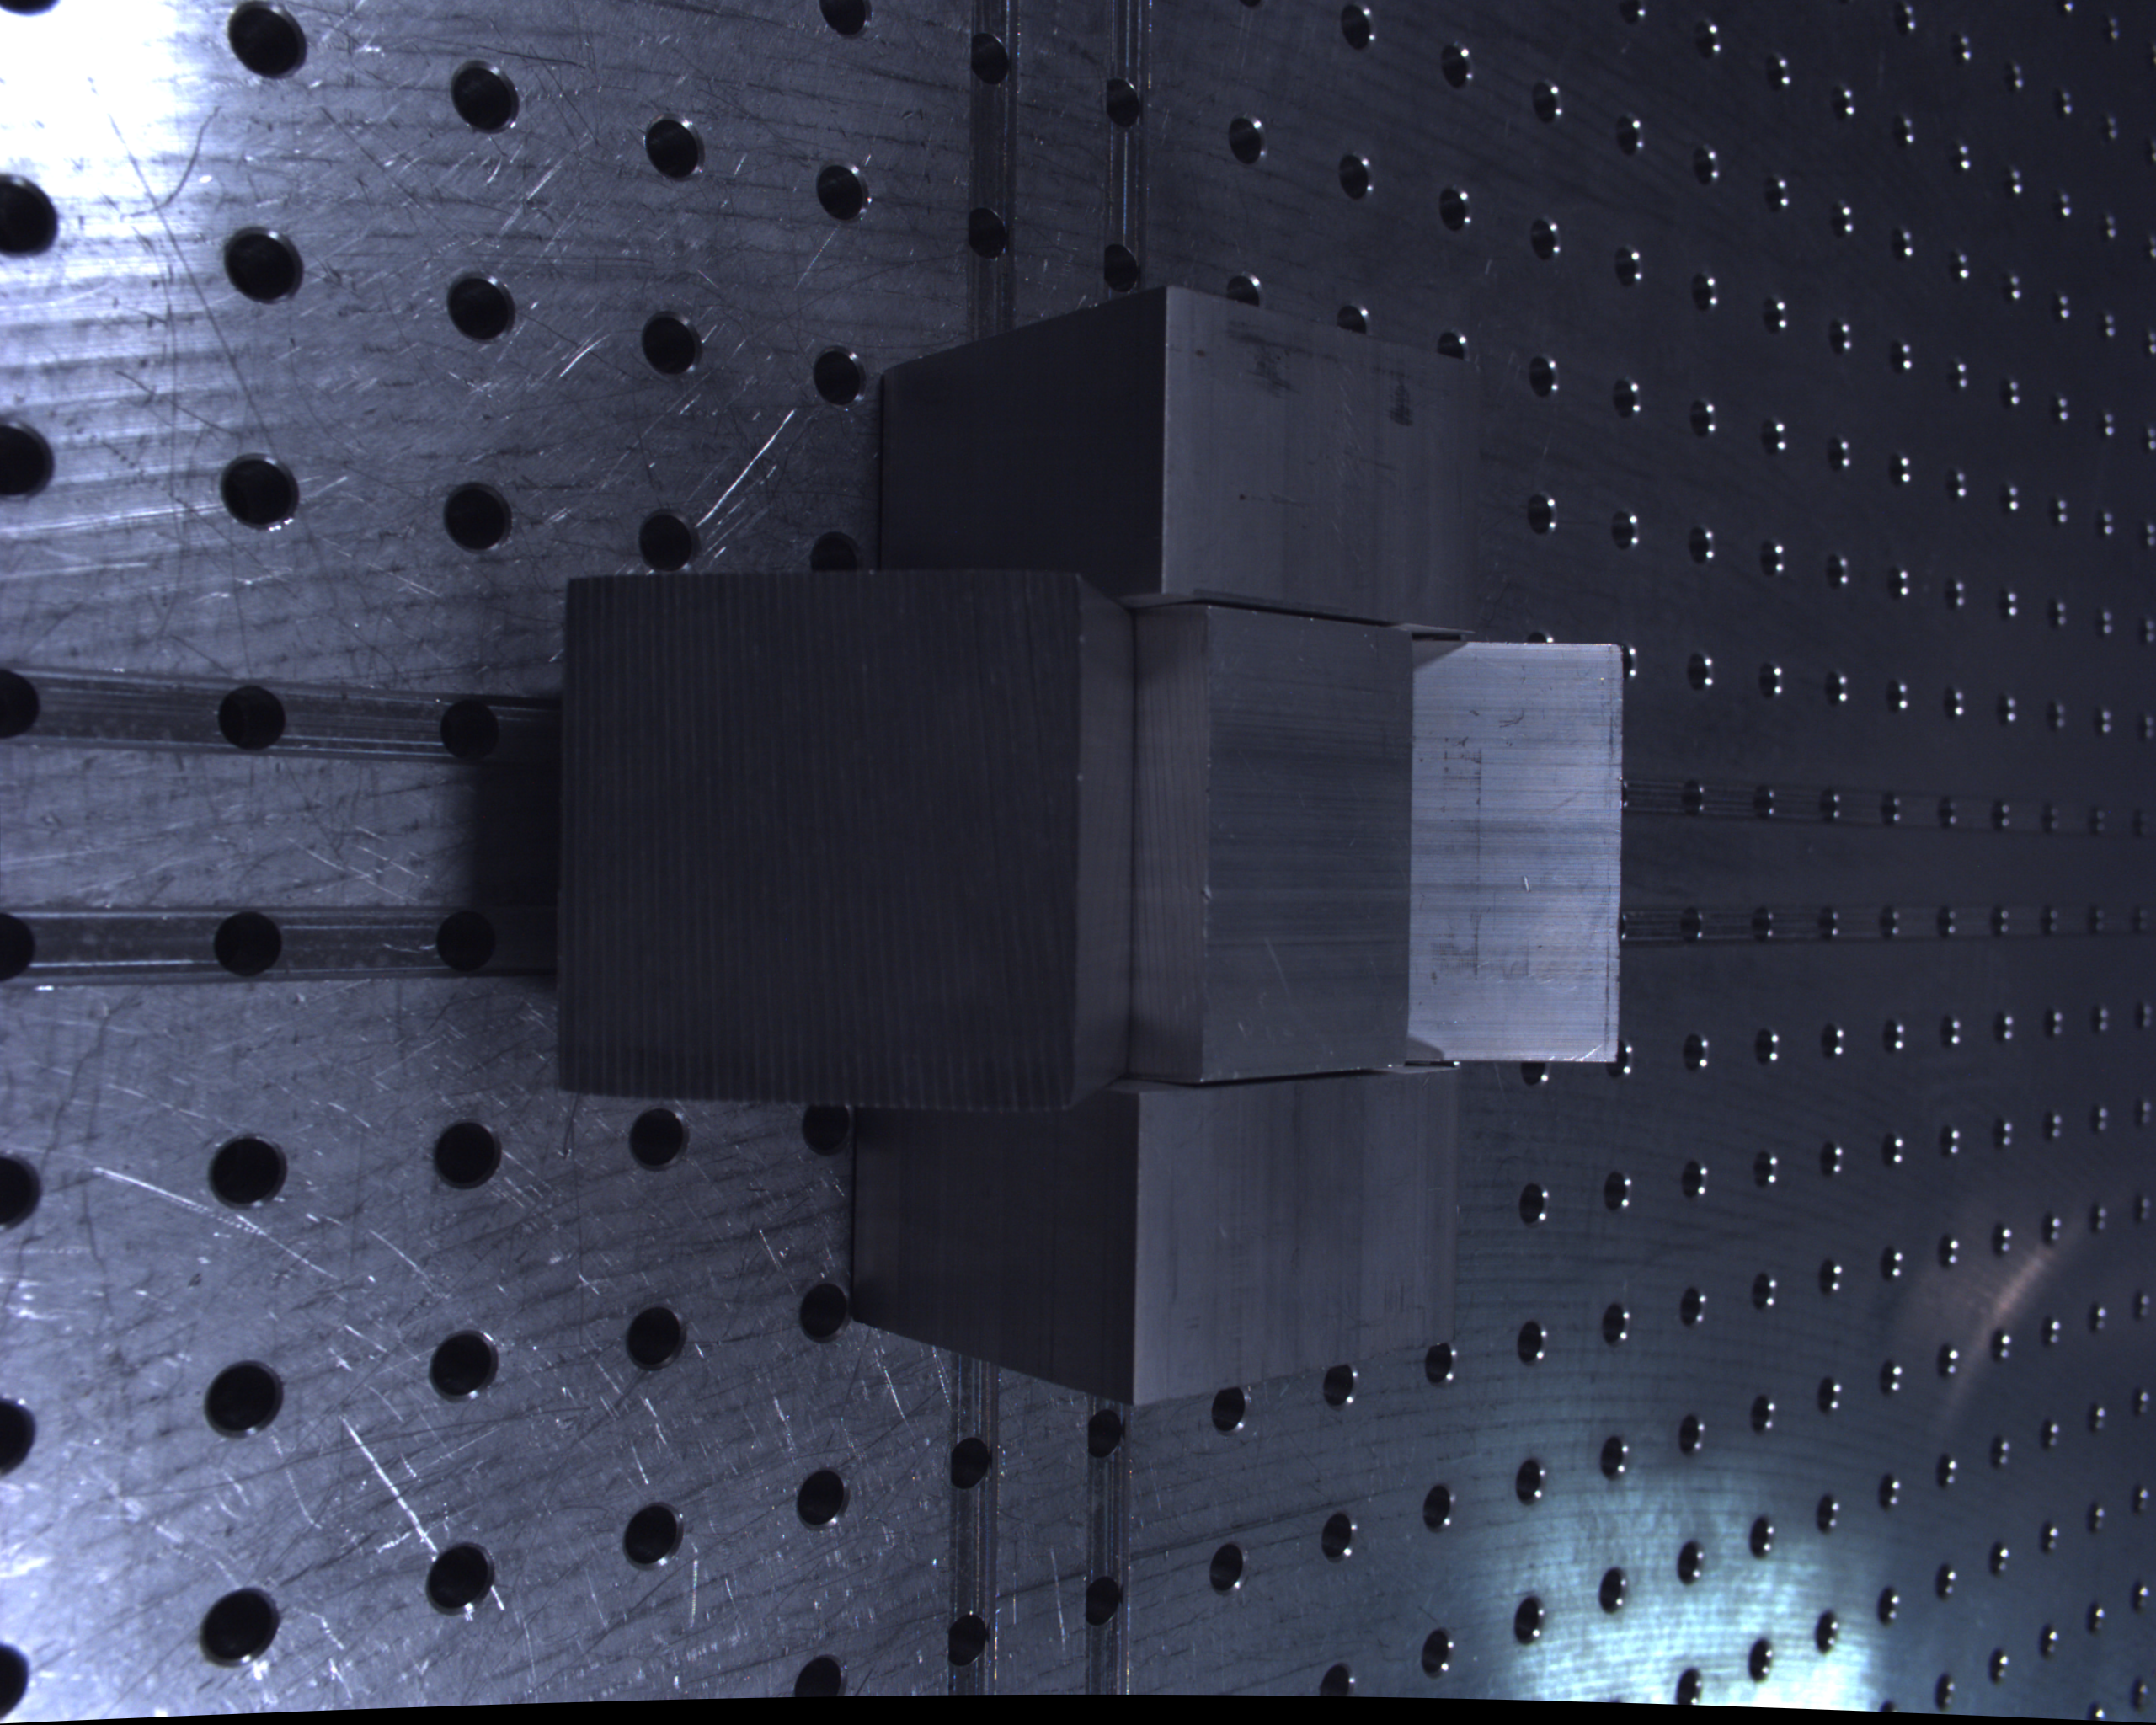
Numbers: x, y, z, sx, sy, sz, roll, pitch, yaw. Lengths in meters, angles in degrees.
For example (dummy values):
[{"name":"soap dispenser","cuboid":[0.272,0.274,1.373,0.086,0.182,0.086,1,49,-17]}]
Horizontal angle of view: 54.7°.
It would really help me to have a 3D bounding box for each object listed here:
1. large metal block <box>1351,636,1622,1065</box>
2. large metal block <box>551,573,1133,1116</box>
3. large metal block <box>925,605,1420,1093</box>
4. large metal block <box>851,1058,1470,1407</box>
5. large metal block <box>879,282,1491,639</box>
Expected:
[{"name":"large metal block","cuboid":[0.074,-0.002,0.427,0.050,0.080,0.079,1,89,-3]},{"name":"large metal block","cuboid":[-0.036,-0.004,0.337,0.050,0.080,0.079,1,90,-80]},{"name":"large metal block","cuboid":[0.015,-0.002,0.387,0.050,0.080,0.079,1,89,-40]},{"name":"large metal block","cuboid":[0.015,0.062,0.386,0.081,0.080,0.050,1,90,-40]},{"name":"large metal block","cuboid":[0.019,-0.068,0.390,0.081,0.080,0.050,1,90,-40]}]
